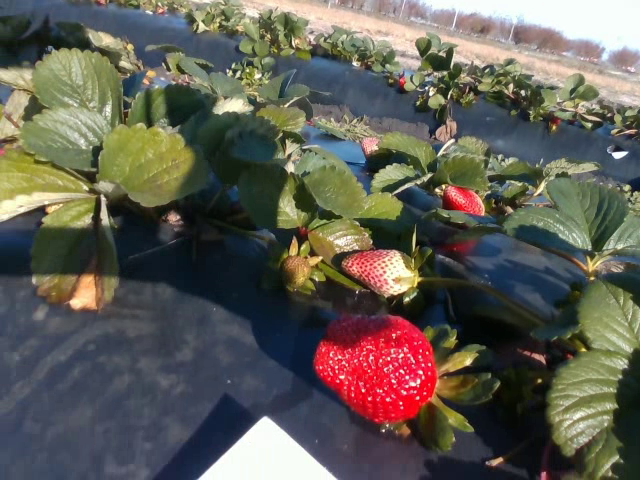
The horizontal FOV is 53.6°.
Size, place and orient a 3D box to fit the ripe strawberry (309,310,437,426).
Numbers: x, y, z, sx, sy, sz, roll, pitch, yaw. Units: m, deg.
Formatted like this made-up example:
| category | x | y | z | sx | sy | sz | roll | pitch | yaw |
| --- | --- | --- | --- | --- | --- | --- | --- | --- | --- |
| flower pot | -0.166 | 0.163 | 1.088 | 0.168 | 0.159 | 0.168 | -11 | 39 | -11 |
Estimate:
| category | x | y | z | sx | sy | sz | roll | pitch | yaw |
| --- | --- | --- | --- | --- | --- | --- | --- | --- | --- |
| ripe strawberry | 0.020 | 0.052 | 0.256 | 0.058 | 0.066 | 0.061 | -28 | -45 | 26 |
